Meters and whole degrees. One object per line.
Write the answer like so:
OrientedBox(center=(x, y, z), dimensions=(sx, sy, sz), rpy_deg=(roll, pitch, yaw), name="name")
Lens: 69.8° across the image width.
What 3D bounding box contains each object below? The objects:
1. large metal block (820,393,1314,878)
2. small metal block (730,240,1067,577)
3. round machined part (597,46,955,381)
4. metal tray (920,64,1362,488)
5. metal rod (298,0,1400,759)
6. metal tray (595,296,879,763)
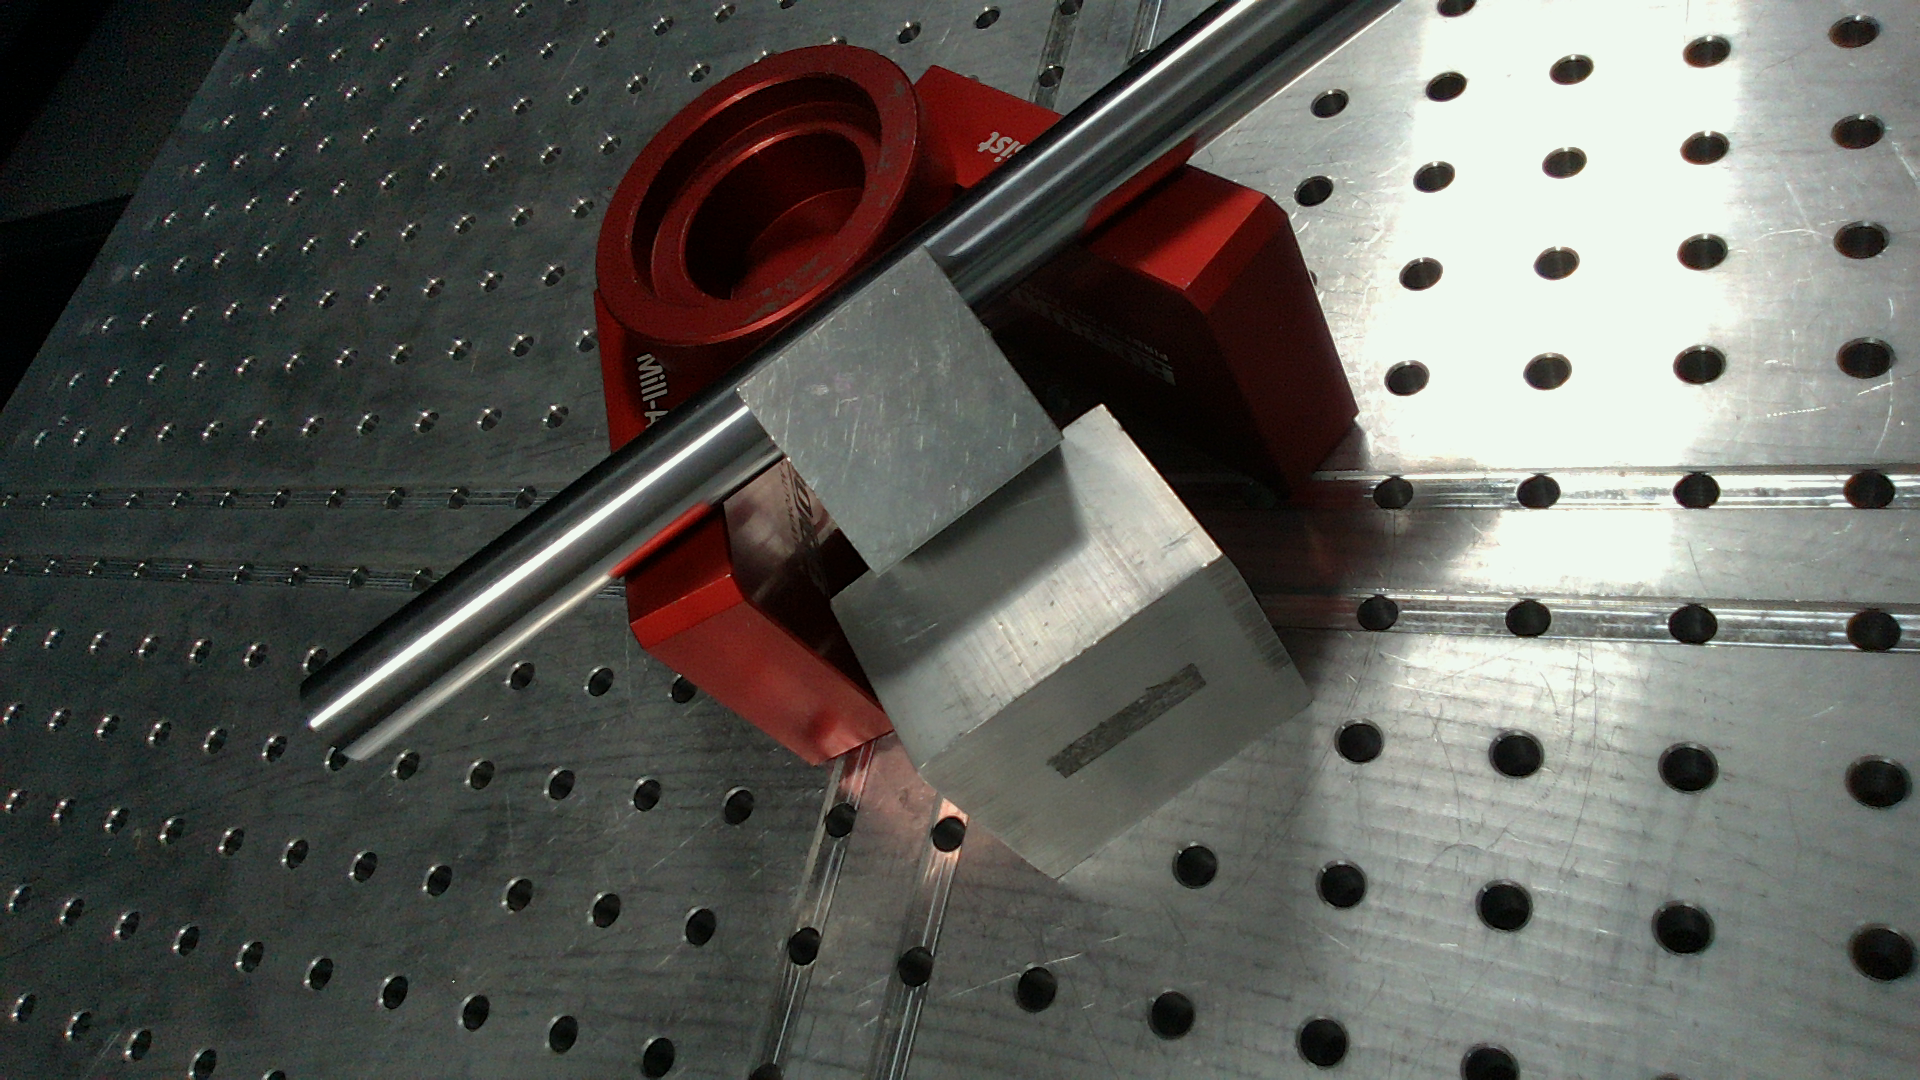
OrientedBox(center=(0.028, 0.026, 0.326), dimensions=(0.080, 0.080, 0.050), rpy_deg=(-36, 51, 5), name="large metal block")
OrientedBox(center=(-0.013, -0.028, 0.299), dimensions=(0.050, 0.050, 0.025), rpy_deg=(-37, 6, 4), name="small metal block")
OrientedBox(center=(-0.045, -0.082, 0.371), dimensions=(0.098, 0.042, 0.098), rpy_deg=(-13, 56, 21), name="round machined part")
OrientedBox(center=(0.040, -0.073, 0.377), dimensions=(0.030, 0.090, 0.130), rpy_deg=(-50, 51, -5), name="metal tray")
OrientedBox(center=(-0.030, -0.044, 0.323), dimensions=(0.300, 0.025, 0.025), rpy_deg=(-36, 51, 5), name="metal rod")
OrientedBox(center=(-0.061, -0.012, 0.395), dimensions=(0.030, 0.090, 0.130), rpy_deg=(-26, 52, 13), name="metal tray")
